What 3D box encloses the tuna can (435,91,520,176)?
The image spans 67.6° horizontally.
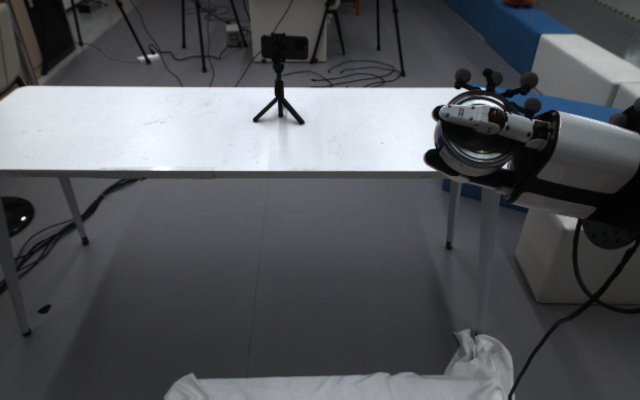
[{"bbox_3d":[0.167,-0.073,0.508,0.085,0.034,0.085,0,71,0],"label":"tuna can"}]
